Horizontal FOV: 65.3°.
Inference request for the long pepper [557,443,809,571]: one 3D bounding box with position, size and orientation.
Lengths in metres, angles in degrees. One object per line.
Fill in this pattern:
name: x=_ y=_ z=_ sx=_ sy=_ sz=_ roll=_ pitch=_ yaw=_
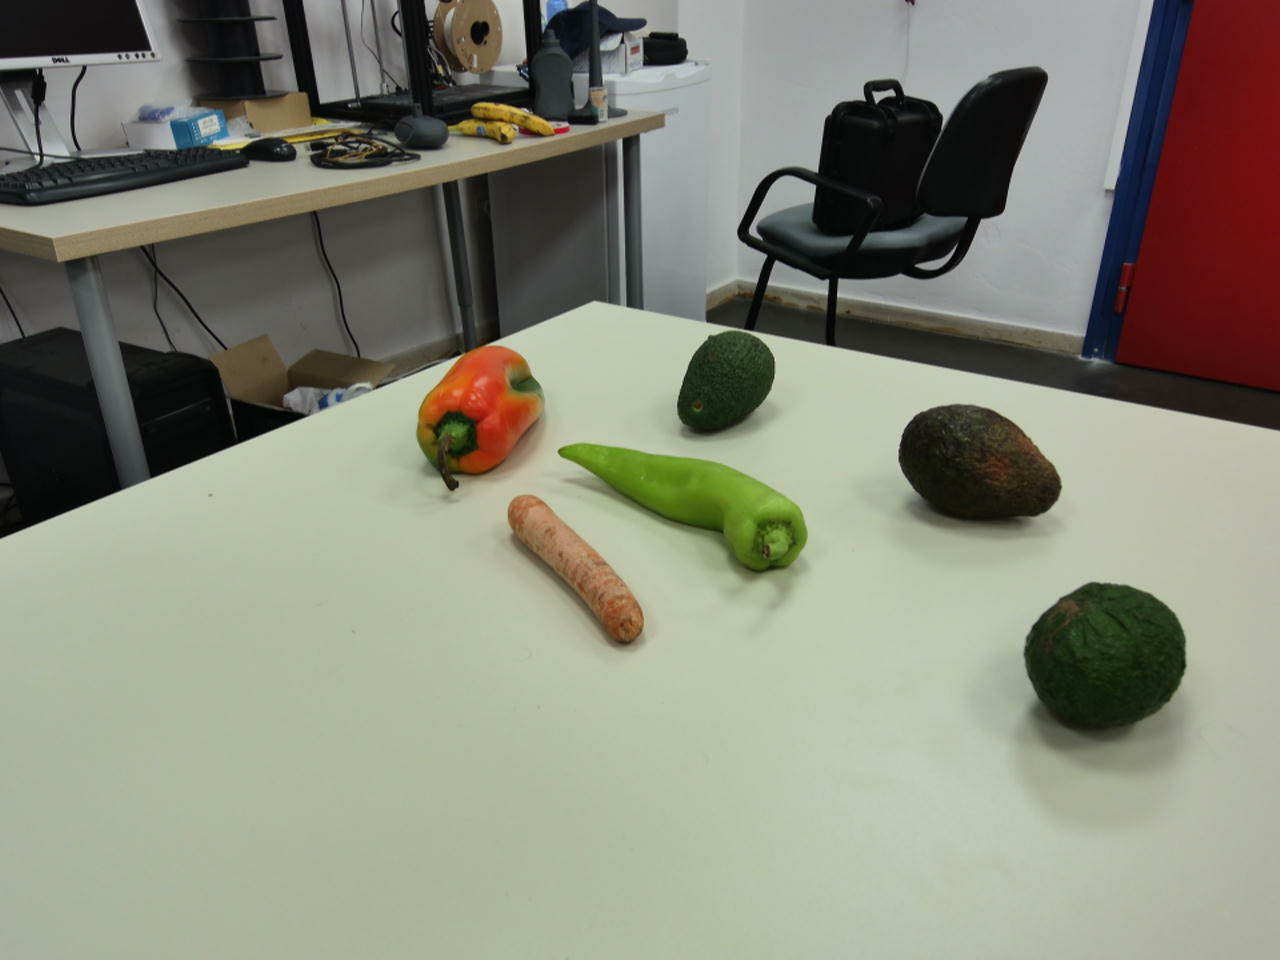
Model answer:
long pepper: x=0.032 y=0.008 z=0.626 sx=0.065 sy=0.045 sz=0.205 roll=-18 pitch=31 yaw=-34
